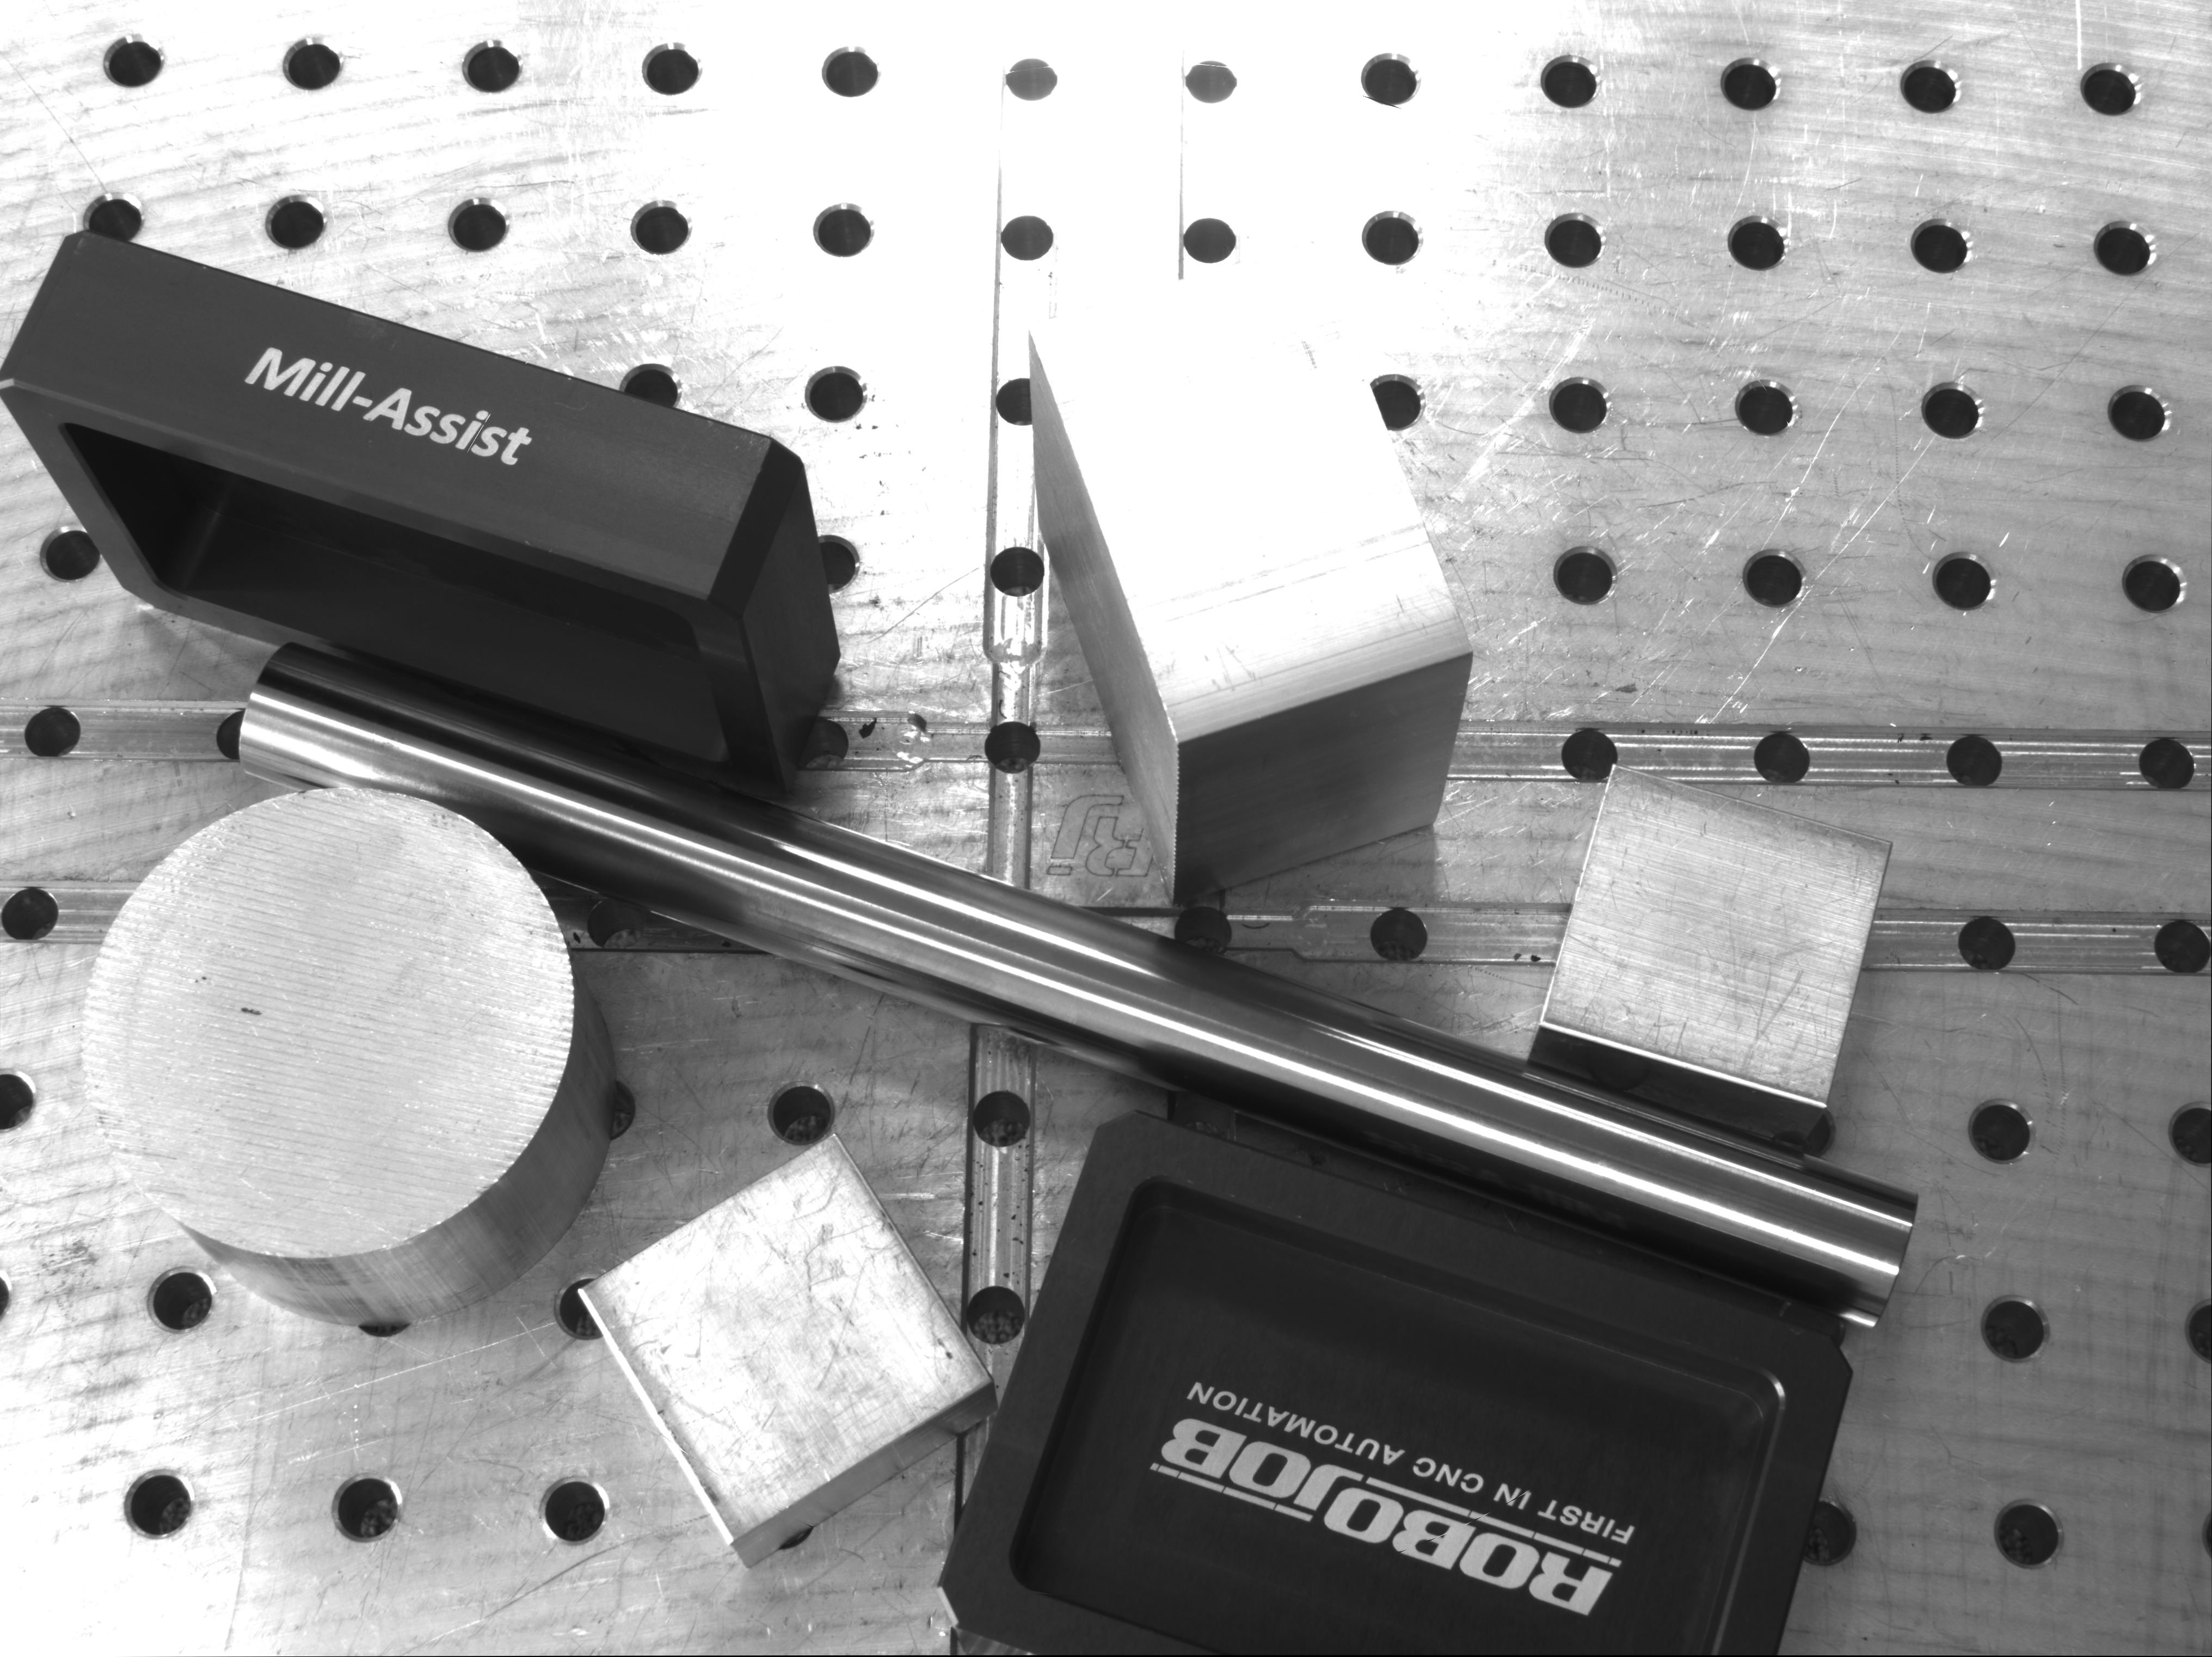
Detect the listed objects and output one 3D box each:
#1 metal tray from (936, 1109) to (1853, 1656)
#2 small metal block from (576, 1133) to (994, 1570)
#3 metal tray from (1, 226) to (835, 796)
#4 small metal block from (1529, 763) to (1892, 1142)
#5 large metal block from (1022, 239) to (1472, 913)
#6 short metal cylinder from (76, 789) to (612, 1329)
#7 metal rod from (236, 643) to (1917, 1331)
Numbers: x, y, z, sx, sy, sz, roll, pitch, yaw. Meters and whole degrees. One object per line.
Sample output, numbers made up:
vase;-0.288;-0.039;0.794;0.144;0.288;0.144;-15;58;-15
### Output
metal tray;0.047;0.110;0.604;0.130;0.030;0.090;17;71;6
small metal block;-0.053;0.088;0.616;0.050;0.025;0.050;-31;73;-11
metal tray;-0.115;-0.052;0.630;0.130;0.090;0.030;18;71;6
small metal block;0.105;0.022;0.639;0.050;0.025;0.050;16;71;6
large metal block;0.023;-0.042;0.635;0.050;0.080;0.080;-17;71;-6
short metal cylinder;-0.127;0.040;0.618;0.080;0.050;0.080;0;70;0
metal rod;-0.008;0.026;0.637;0.300;0.025;0.025;18;71;7
